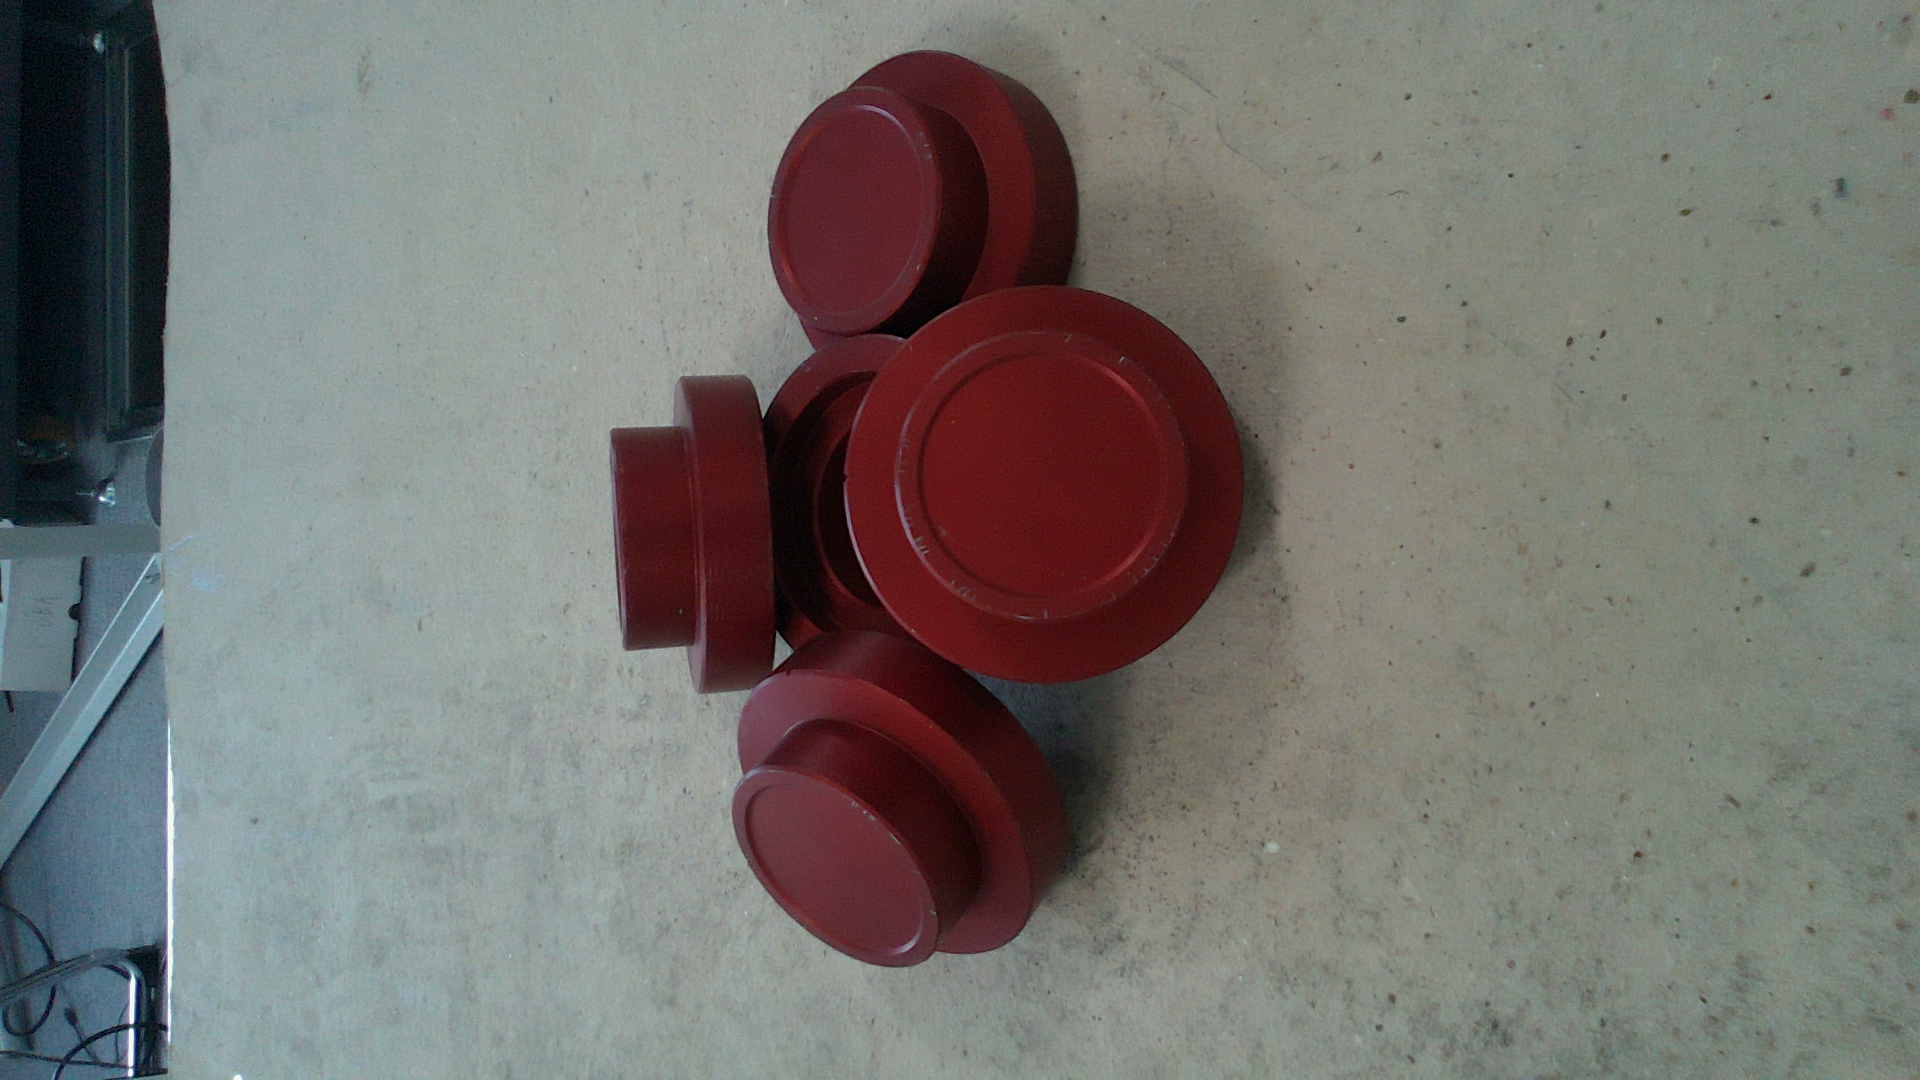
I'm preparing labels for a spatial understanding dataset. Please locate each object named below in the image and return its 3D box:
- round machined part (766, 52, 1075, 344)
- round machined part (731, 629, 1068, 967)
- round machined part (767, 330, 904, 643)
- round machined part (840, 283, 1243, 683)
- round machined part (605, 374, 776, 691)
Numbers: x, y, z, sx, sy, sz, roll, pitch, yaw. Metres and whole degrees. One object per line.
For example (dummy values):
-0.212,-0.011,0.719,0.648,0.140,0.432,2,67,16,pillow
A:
-0.018,-0.092,0.399,0.098,0.042,0.098,-2,87,40,round machined part
-0.023,0.076,0.375,0.098,0.042,0.098,20,131,25,round machined part
-0.014,-0.009,0.396,0.098,0.042,0.098,-1,88,42,round machined part
0.019,-0.014,0.334,0.098,0.042,0.098,0,87,4,round machined part
-0.086,-0.001,0.425,0.098,0.042,0.098,176,90,-74,round machined part
